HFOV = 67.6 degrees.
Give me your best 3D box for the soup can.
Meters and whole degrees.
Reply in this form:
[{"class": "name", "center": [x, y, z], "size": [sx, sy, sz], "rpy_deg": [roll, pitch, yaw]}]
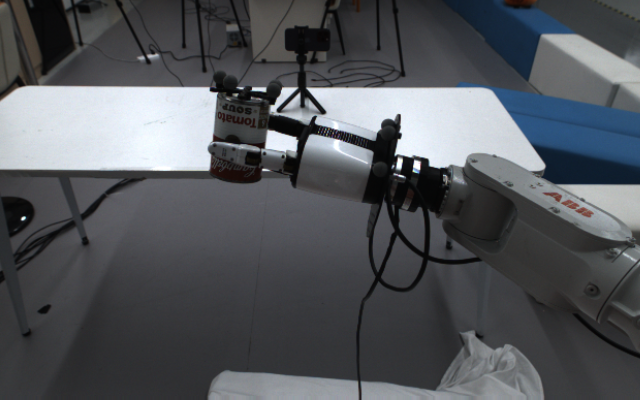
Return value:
[{"class": "soup can", "center": [-0.100, -0.079, 0.608], "size": [0.067, 0.101, 0.067], "rpy_deg": [9, 20, -3]}]
